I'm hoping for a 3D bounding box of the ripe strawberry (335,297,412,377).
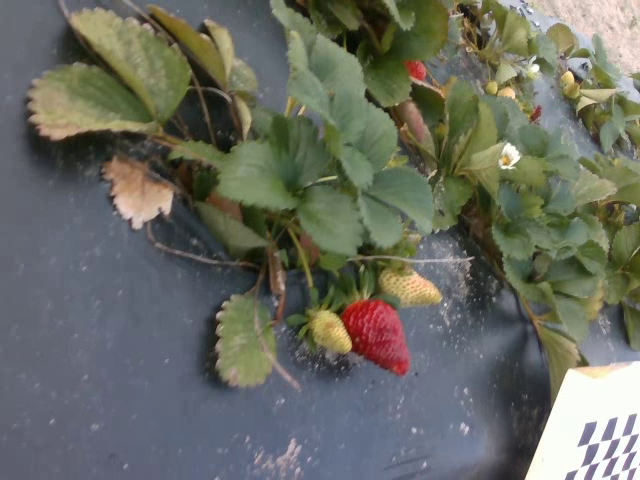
[{"bbox_3d":[0.036,0.063,0.355,0.046,0.046,0.059,2,35,-39],"label":"ripe strawberry"}]
